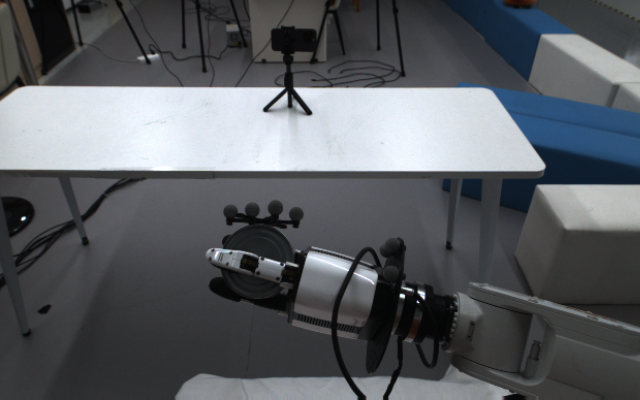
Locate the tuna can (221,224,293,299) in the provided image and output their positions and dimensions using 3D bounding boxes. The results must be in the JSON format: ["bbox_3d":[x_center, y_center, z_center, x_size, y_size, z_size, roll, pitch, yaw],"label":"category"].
[{"bbox_3d":[-0.070,0.072,0.567,0.085,0.034,0.085,-1,76,4],"label":"tuna can"}]
